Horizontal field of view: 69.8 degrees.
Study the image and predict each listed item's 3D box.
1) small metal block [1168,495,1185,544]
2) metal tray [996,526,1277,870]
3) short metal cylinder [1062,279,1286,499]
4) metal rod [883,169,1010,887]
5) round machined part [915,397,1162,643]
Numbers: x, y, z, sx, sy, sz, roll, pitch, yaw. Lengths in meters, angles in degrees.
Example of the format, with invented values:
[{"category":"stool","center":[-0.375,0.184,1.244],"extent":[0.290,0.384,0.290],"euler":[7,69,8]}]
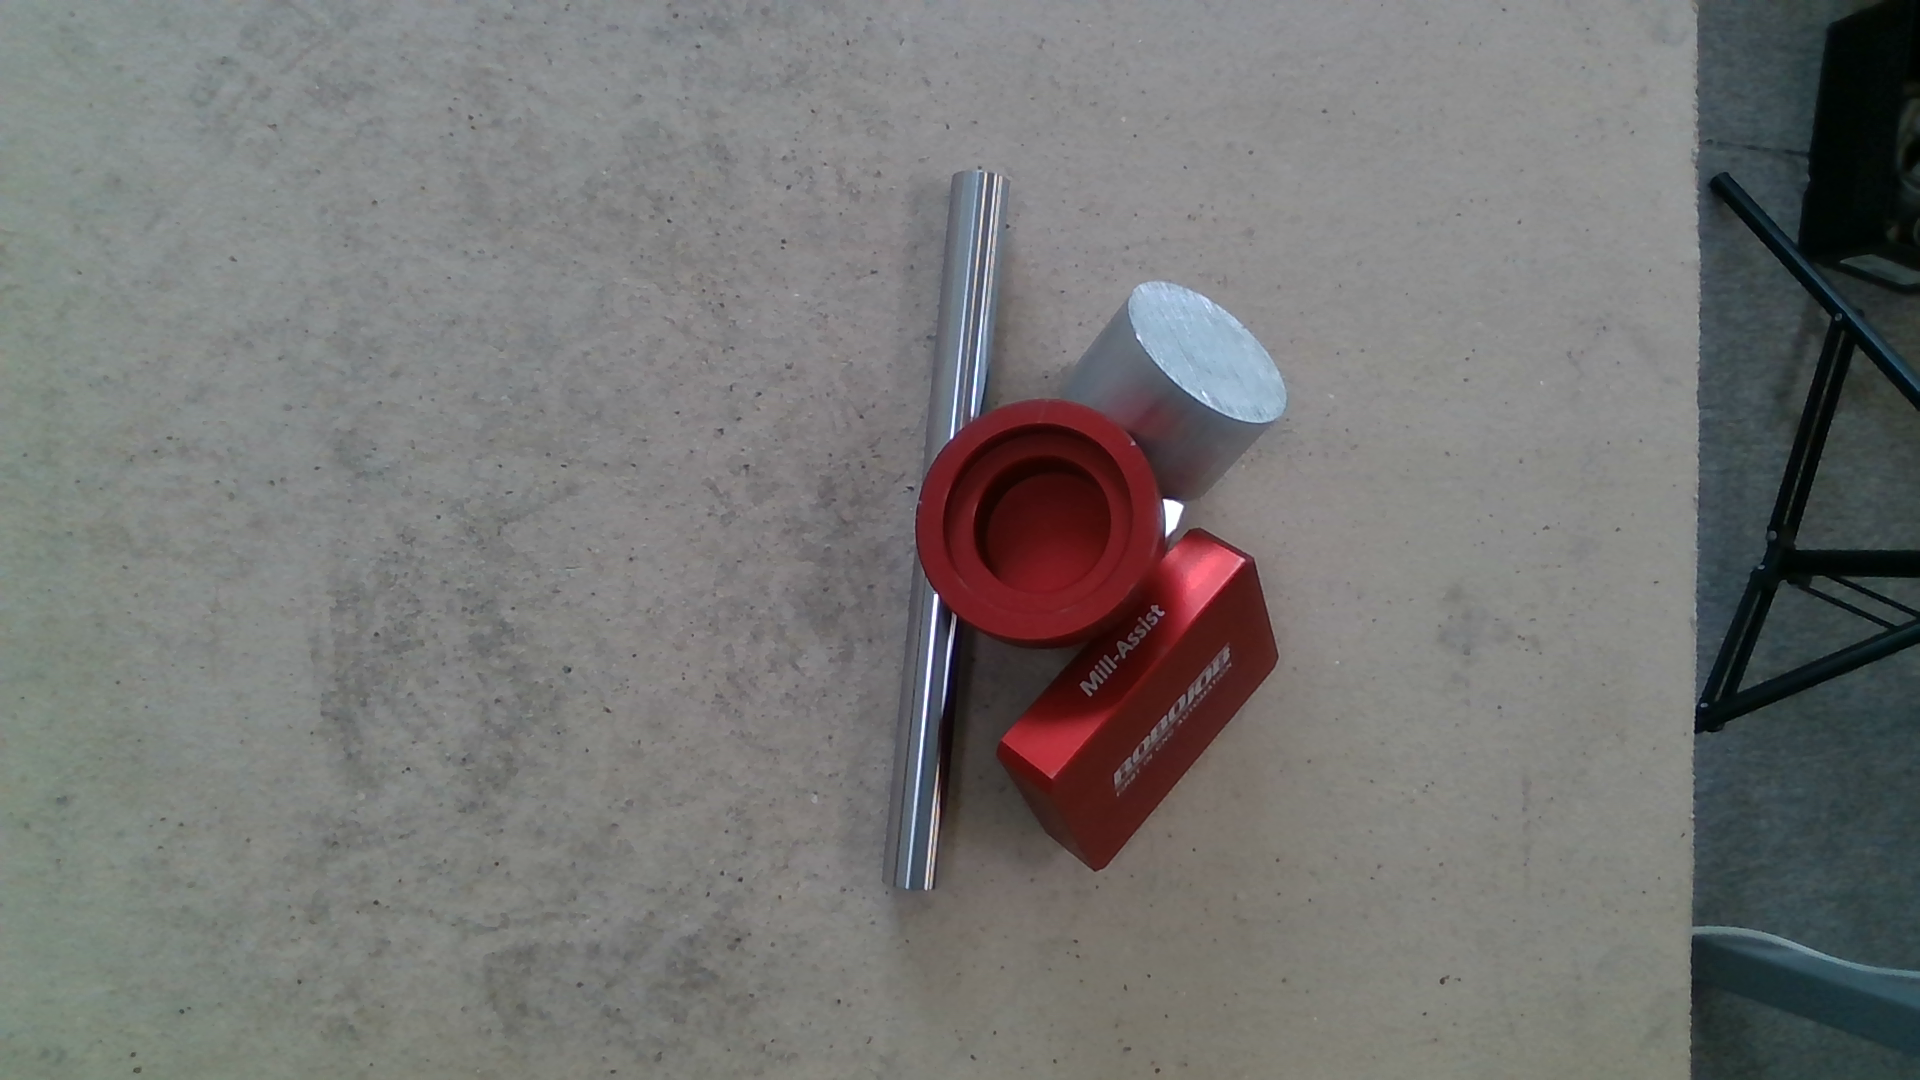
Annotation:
[{"category":"small metal block","center":[0.066,0.002,0.596],"extent":[0.025,0.050,0.050],"euler":[25,82,-19]},{"category":"metal tray","center":[0.079,0.068,0.586],"extent":[0.130,0.030,0.090],"euler":[-46,143,-14]},{"category":"short metal cylinder","center":[0.091,-0.064,0.586],"extent":[0.080,0.050,0.080],"euler":[22,41,-21]},{"category":"metal rod","center":[-0.006,-0.006,0.585],"extent":[0.025,0.025,0.300],"euler":[6,88,-20]},{"category":"round machined part","center":[0.035,-0.005,0.557],"extent":[0.098,0.042,0.098],"euler":[-3,77,14]}]
